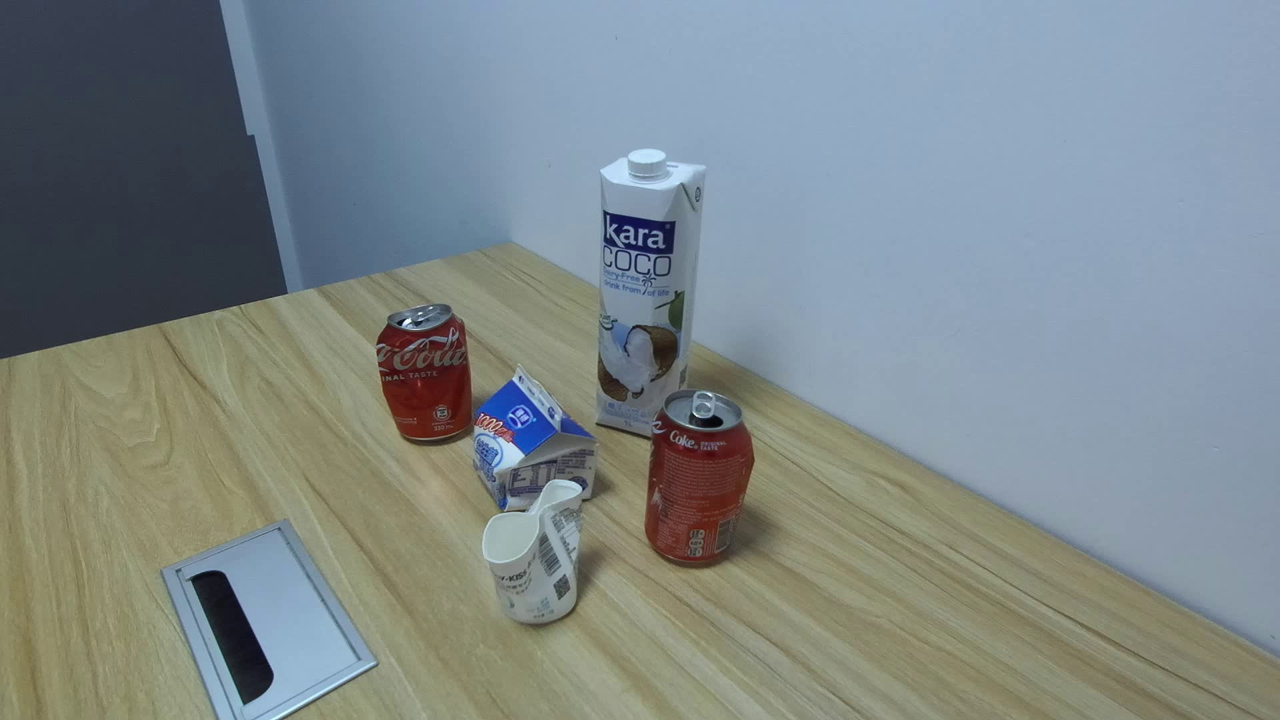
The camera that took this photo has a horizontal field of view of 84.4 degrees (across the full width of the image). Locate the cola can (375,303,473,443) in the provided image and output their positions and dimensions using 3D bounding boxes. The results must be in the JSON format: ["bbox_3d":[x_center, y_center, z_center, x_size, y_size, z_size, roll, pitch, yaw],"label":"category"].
[{"bbox_3d":[-0.180,0.010,0.611,0.069,0.112,0.065,3,30,0],"label":"cola can"}]

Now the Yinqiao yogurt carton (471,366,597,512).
[{"bbox_3d":[-0.083,0.060,0.544,0.080,0.097,0.074,-10,32,-33],"label":"Yinqiao yogurt carton"}]

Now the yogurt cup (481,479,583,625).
[{"bbox_3d":[-0.067,0.126,0.455,0.053,0.071,0.075,5,31,2],"label":"yogurt cup"}]

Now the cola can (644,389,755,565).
[{"bbox_3d":[0.036,0.081,0.496,0.066,0.117,0.072,-23,39,-36],"label":"cola can"}]

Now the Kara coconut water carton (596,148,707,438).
[{"bbox_3d":[0.006,-0.054,0.596,0.077,0.245,0.075,14,31,19],"label":"Kara coconut water carton"}]
